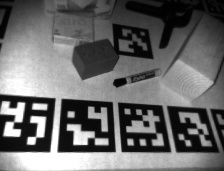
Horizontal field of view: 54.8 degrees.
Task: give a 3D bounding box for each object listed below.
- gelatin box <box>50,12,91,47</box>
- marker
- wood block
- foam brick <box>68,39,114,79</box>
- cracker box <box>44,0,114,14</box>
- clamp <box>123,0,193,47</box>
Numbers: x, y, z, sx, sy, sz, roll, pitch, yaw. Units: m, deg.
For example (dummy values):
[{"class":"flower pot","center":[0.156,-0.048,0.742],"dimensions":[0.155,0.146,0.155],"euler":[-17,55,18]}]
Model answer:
[{"class":"gelatin box","center":[-0.092,-0.125,0.489],"dimensions":[0.090,0.030,0.073],"euler":[4,64,-15]},{"class":"marker","center":[0.038,-0.015,0.472],"dimensions":[0.122,0.019,0.019],"euler":[-14,69,-23]},{"class":"wood block","center":[0.200,-0.074,0.516],"dimensions":[0.089,0.091,0.207],"euler":[34,56,7]},{"class":"foam brick","center":[-0.047,-0.056,0.451],"dimensions":[0.079,0.051,0.052],"euler":[-19,71,-24]},{"class":"cracker box","center":[-0.059,-0.258,0.454],"dimensions":[0.165,0.213,0.071],"euler":[2,61,-17]},{"class":"clamp","center":[0.153,-0.199,0.595],"dimensions":[0.204,0.036,0.164],"euler":[-26,73,-26]}]
